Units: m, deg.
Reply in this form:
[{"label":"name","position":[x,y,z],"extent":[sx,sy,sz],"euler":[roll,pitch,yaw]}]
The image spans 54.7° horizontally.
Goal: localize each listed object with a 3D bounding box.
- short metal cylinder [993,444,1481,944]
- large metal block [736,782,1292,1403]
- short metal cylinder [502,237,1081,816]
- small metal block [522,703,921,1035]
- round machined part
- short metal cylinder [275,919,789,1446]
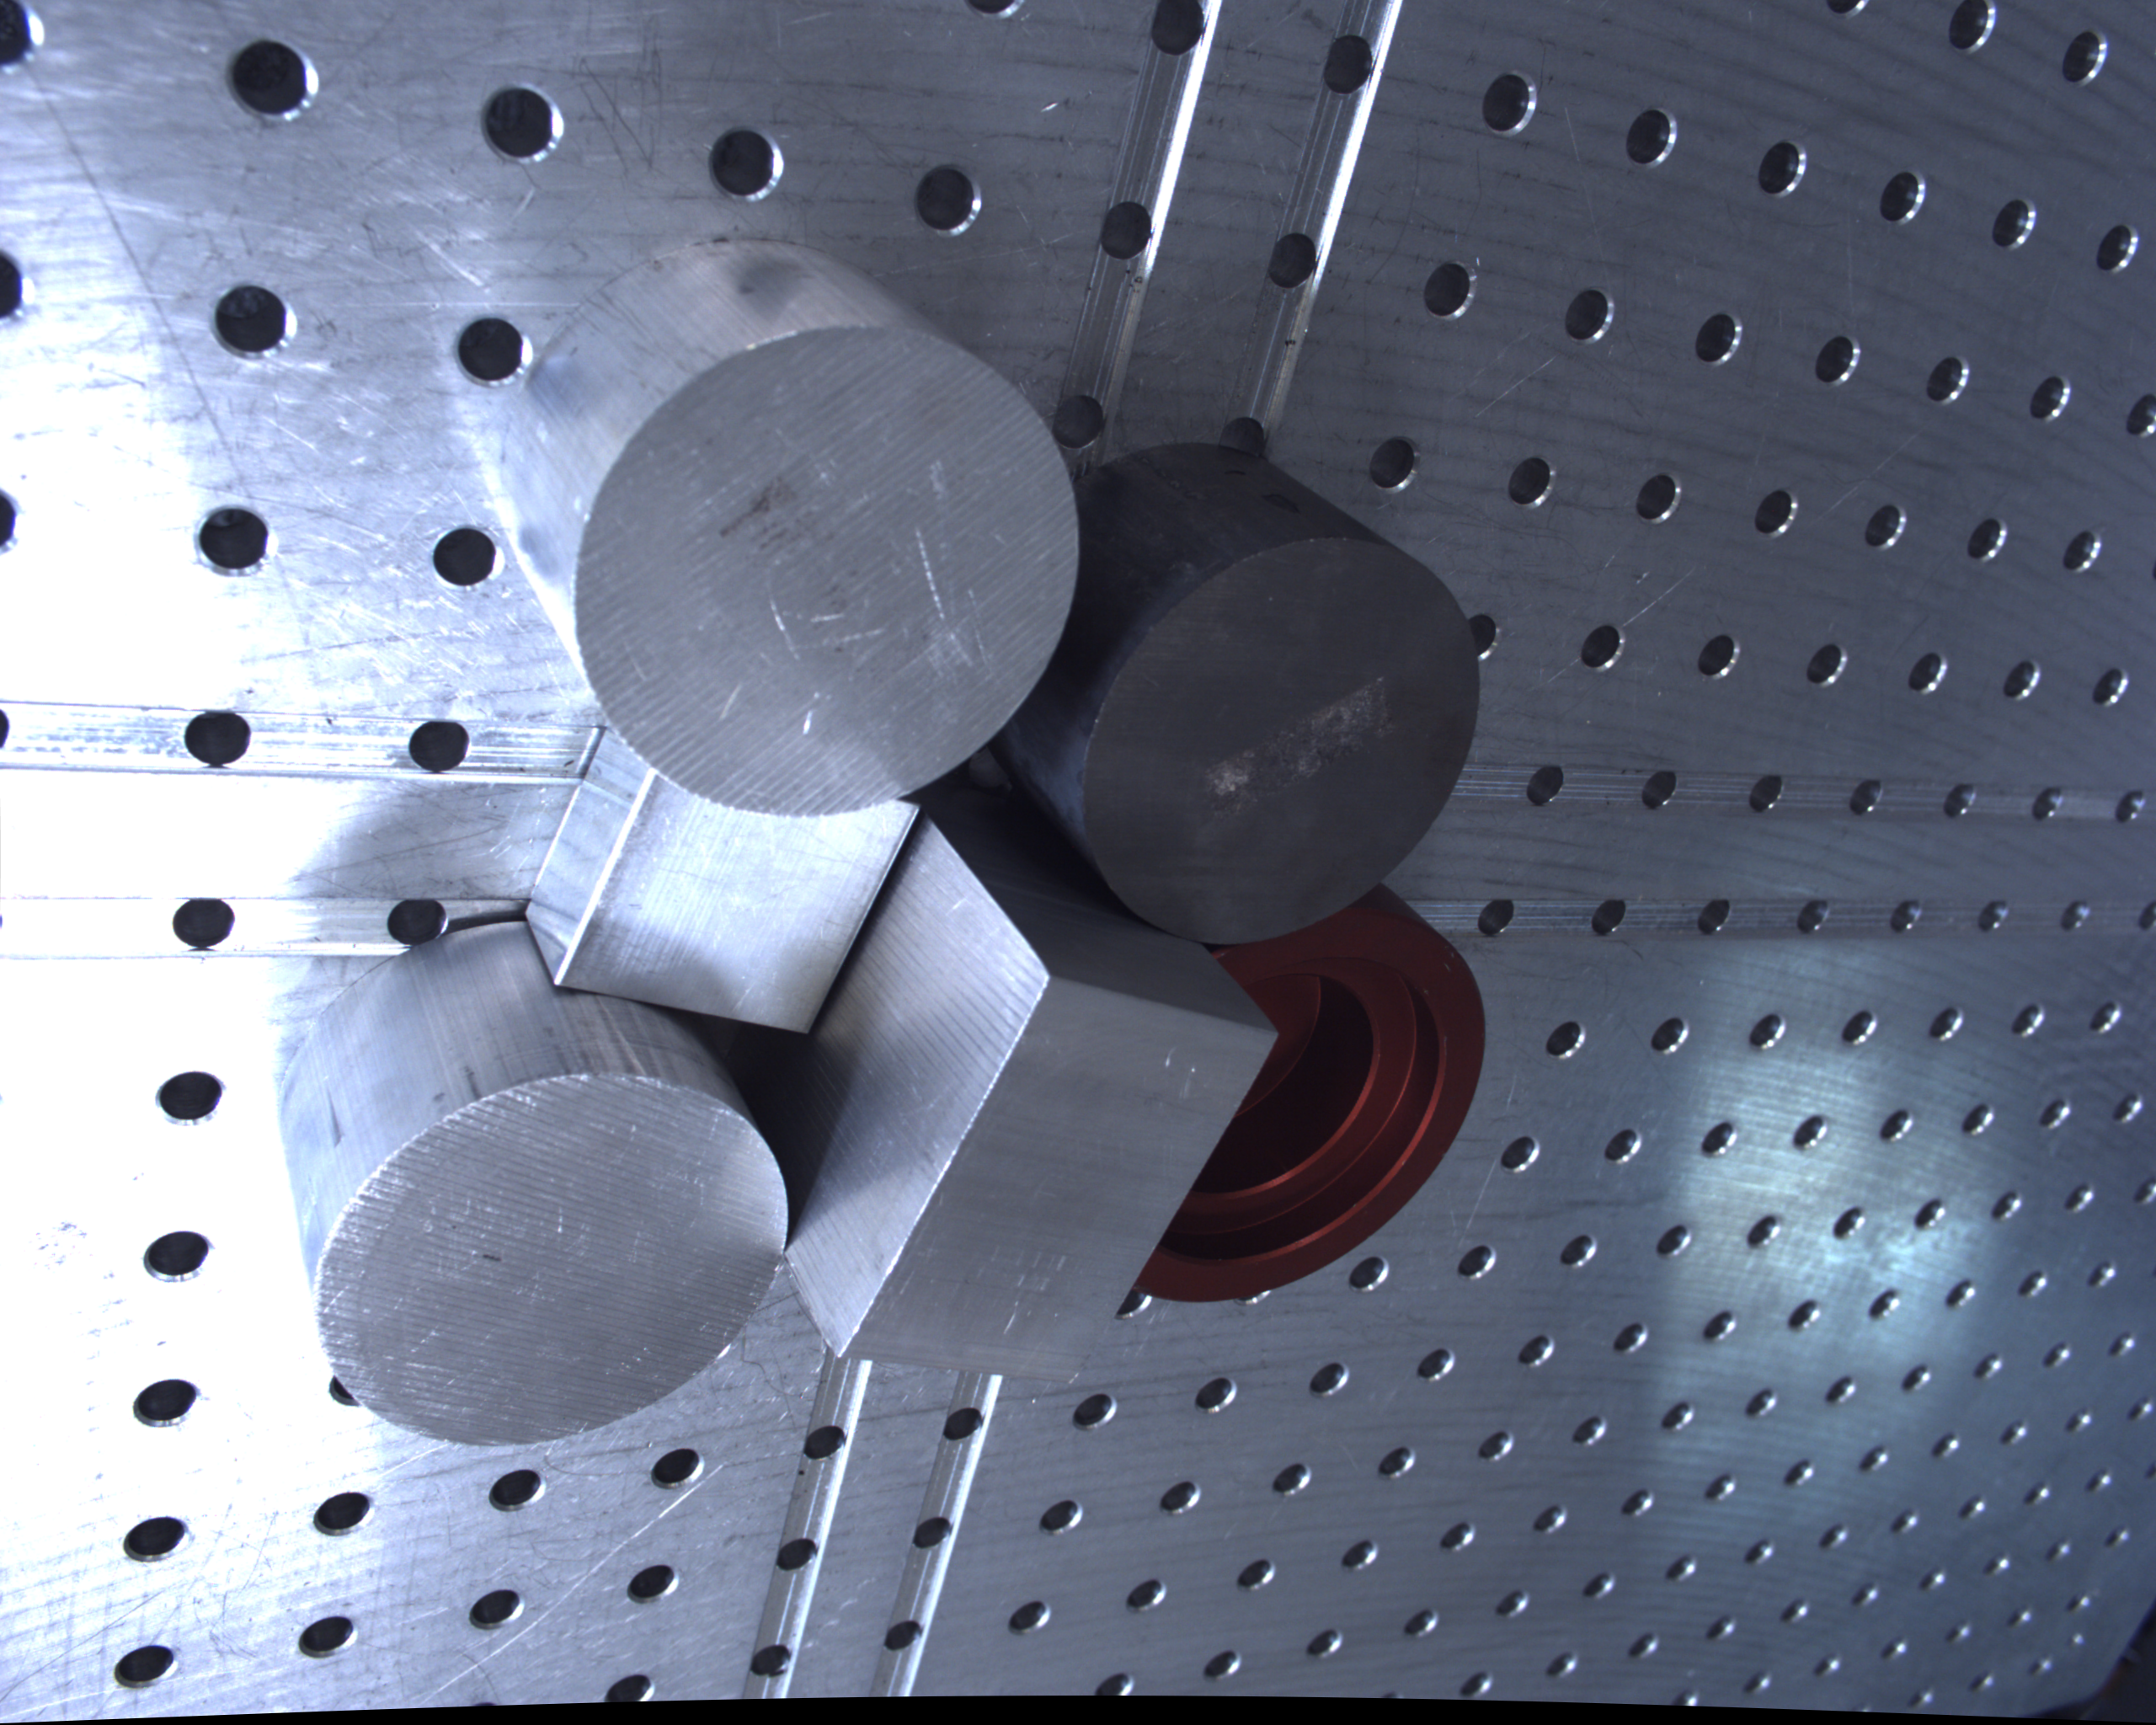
[{"label":"short metal cylinder","position":[0.027,-0.032,0.390],"extent":[0.081,0.050,0.079],"euler":[-14,124,-21]},{"label":"large metal block","position":[-0.018,0.040,0.386],"extent":[0.050,0.080,0.080],"euler":[17,110,-35]},{"label":"short metal cylinder","position":[-0.047,-0.054,0.336],"extent":[0.081,0.050,0.079],"euler":[-14,124,-21]},{"label":"small metal block","position":[-0.064,0.000,0.375],"extent":[0.050,0.025,0.050],"euler":[16,110,-35]},{"label":"round machined part","position":[0.034,0.042,0.444],"extent":[0.099,0.042,0.097],"euler":[-14,124,-21]},{"label":"short metal cylinder","position":[-0.099,0.057,0.376],"extent":[0.081,0.050,0.079],"euler":[-14,124,-21]}]
